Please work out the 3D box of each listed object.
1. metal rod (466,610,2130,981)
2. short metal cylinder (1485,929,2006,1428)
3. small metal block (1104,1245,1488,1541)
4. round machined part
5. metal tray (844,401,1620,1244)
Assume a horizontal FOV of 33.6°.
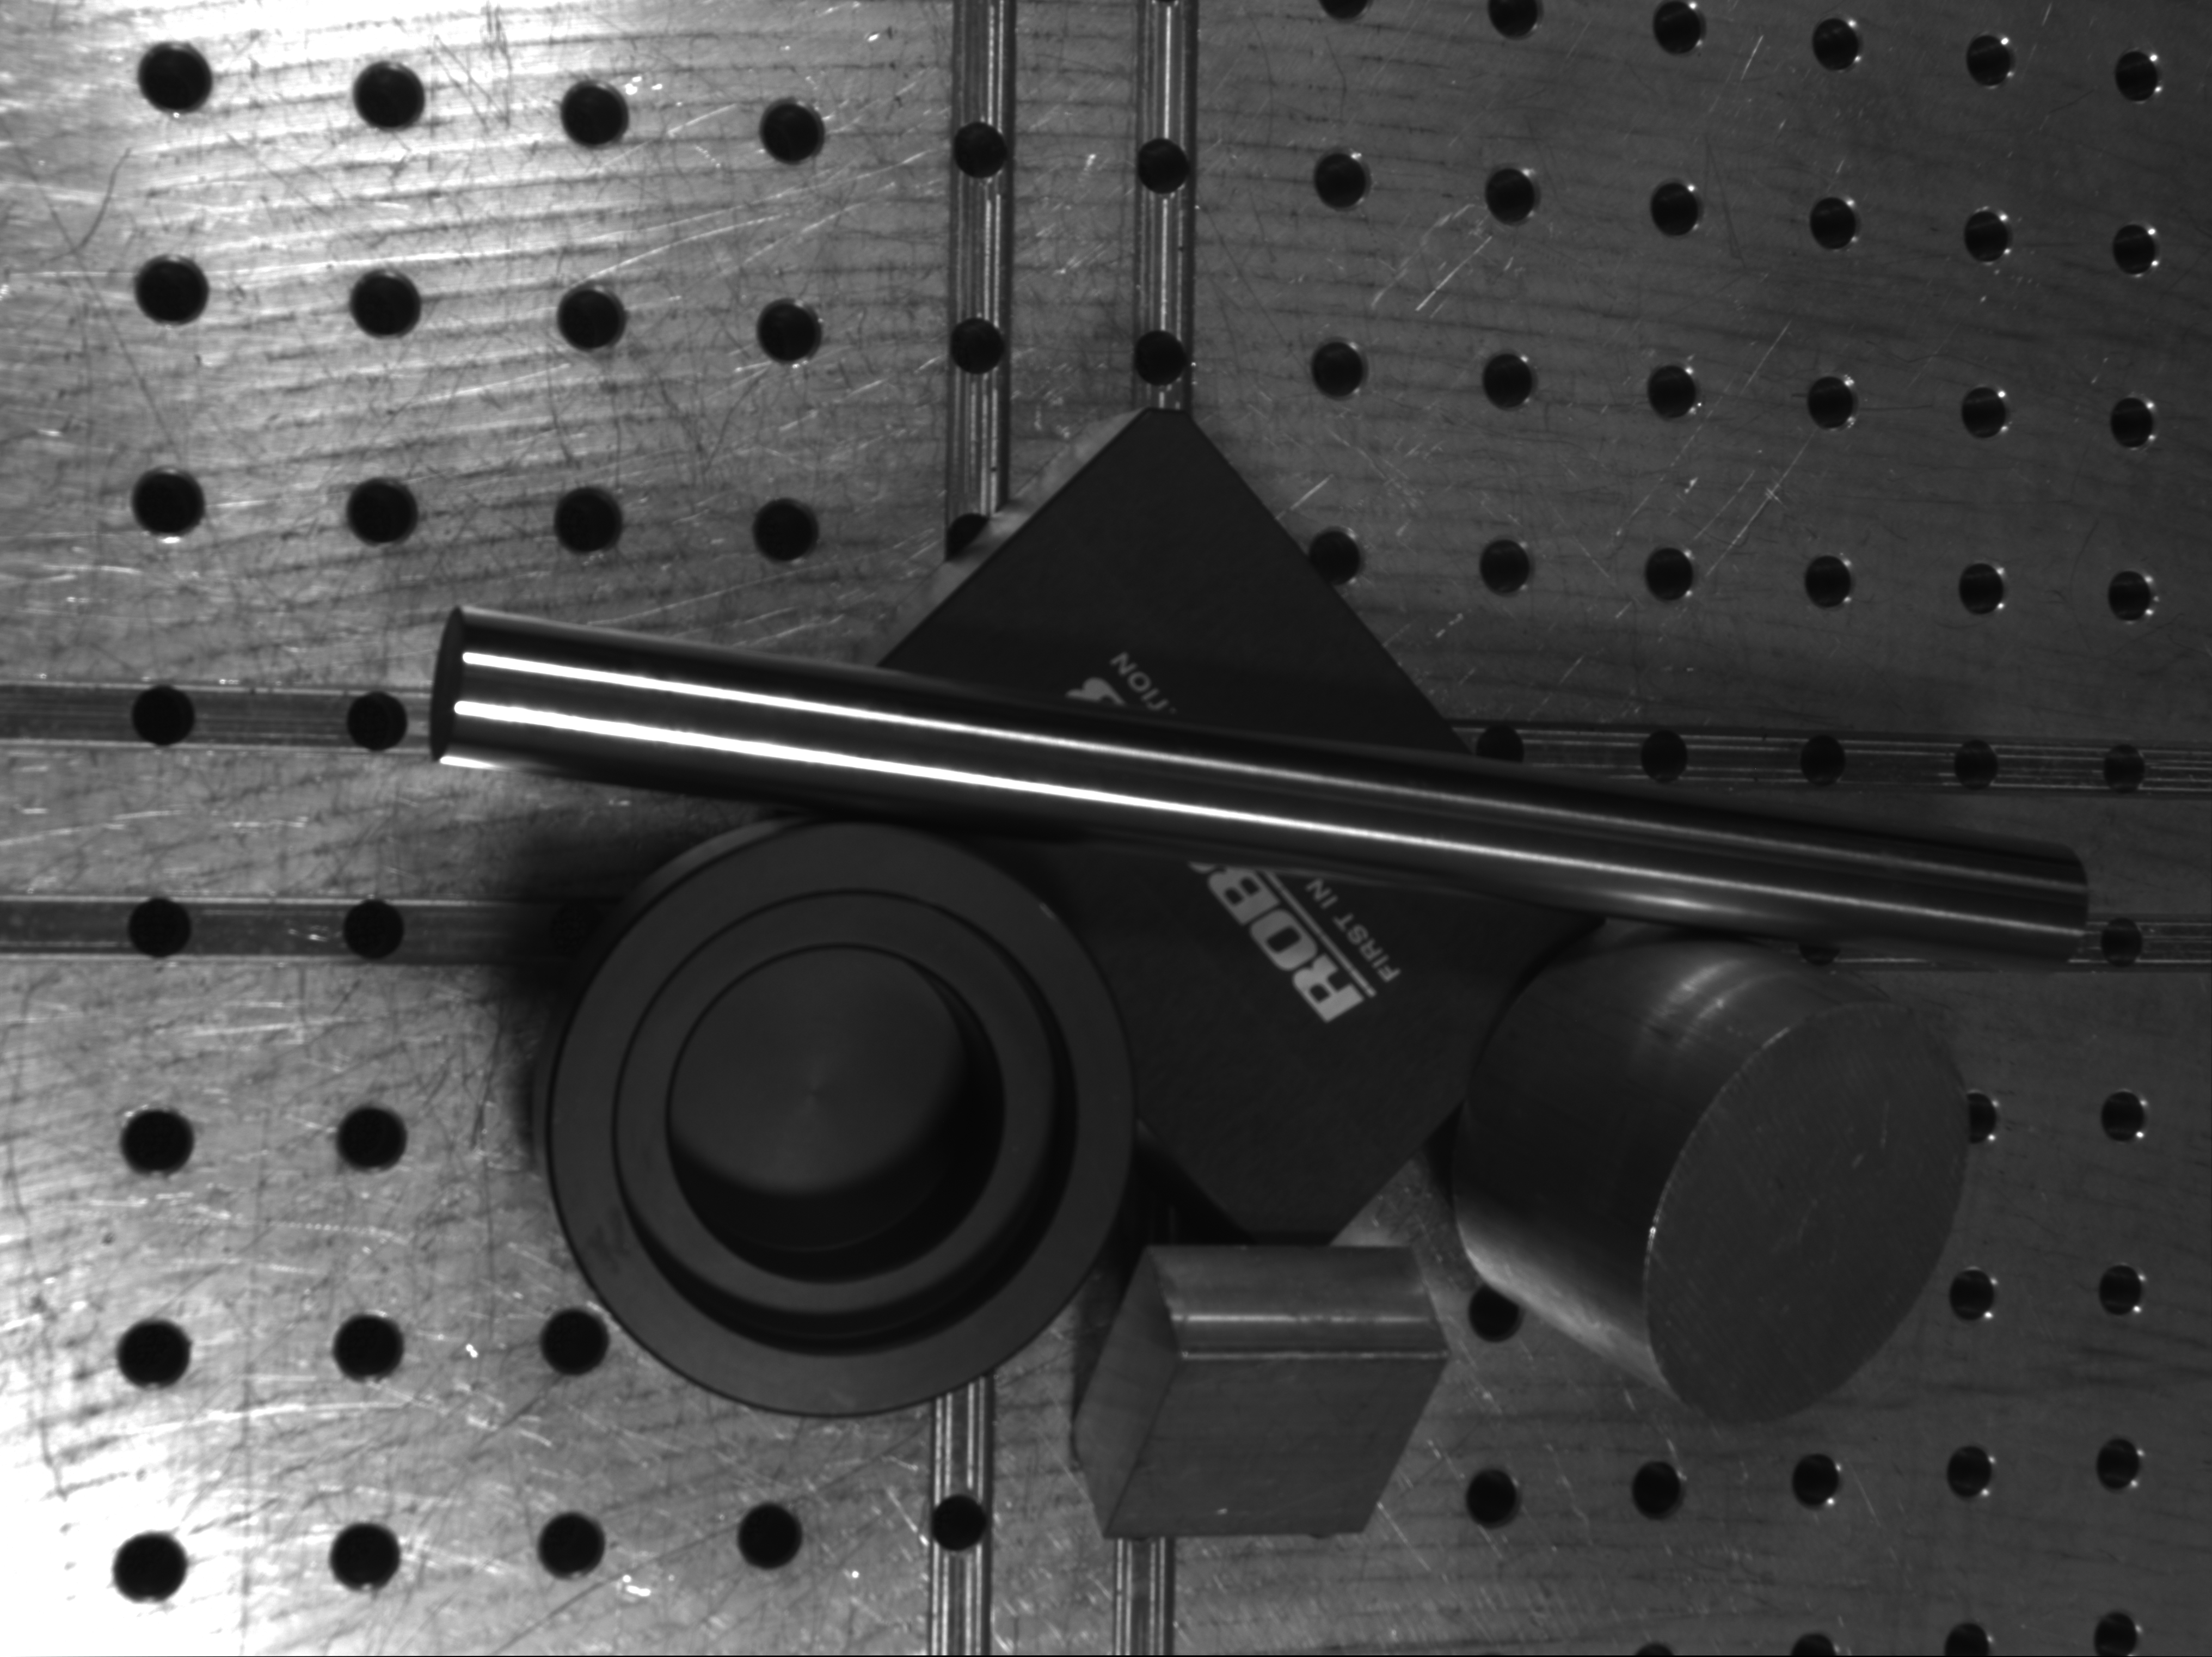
[{"bbox_3d":[0.042,-0.003,0.628,0.301,0.025,0.025,8,87,-20],"label":"metal rod"},{"bbox_3d":[0.115,0.060,0.658,0.080,0.050,0.080,-15,117,-32],"label":"short metal cylinder"},{"bbox_3d":[0.033,0.099,0.643,0.050,0.025,0.050,3,132,-20],"label":"small metal block"},{"bbox_3d":[-0.042,0.046,0.616,0.098,0.042,0.098,-2,96,-15],"label":"round machined part"},{"bbox_3d":[0.022,0.001,0.653,0.090,0.030,0.130,-45,104,-14],"label":"metal tray"}]
